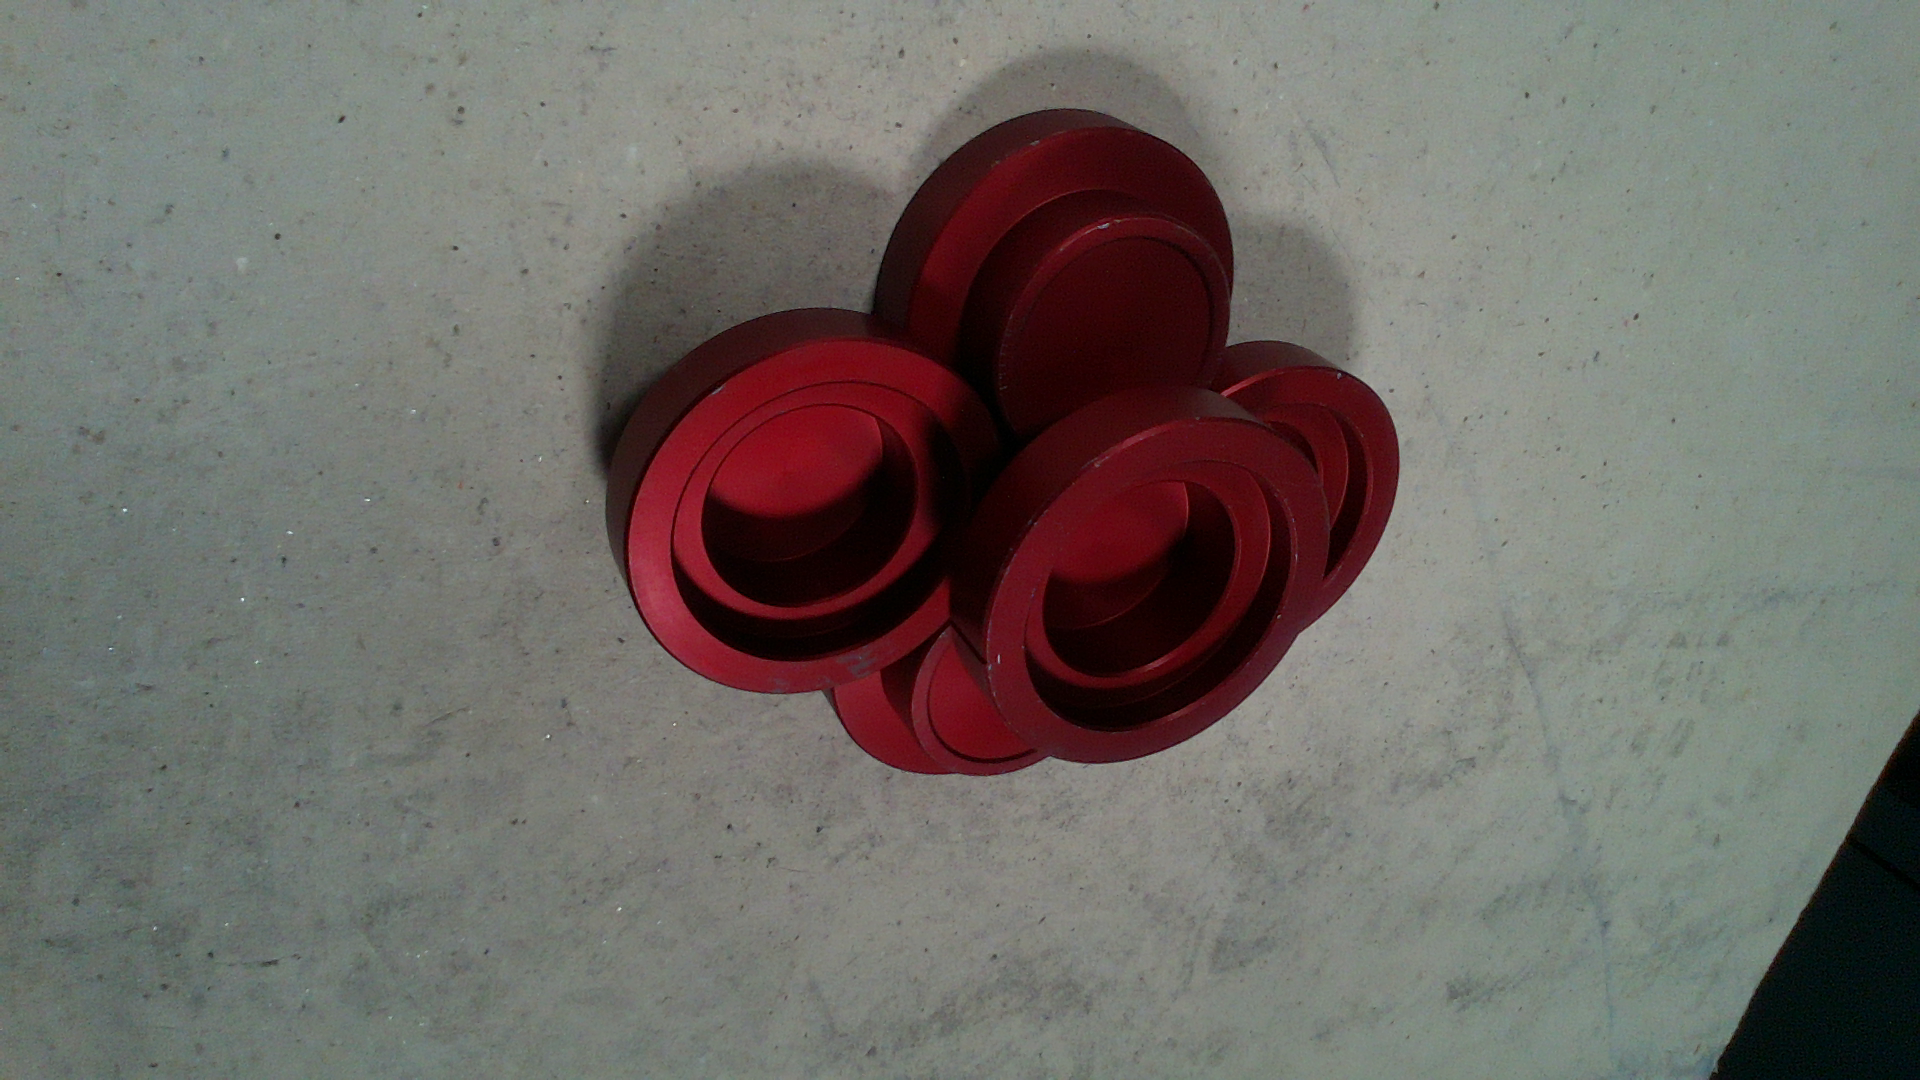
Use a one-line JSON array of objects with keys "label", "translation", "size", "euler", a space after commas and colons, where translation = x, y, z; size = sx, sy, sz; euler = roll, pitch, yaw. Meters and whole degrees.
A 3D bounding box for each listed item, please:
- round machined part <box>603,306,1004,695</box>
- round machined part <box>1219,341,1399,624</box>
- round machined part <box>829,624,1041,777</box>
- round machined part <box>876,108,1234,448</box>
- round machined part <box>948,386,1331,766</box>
[{"label": "round machined part", "translation": [-0.041, -0.013, 0.348], "size": [0.098, 0.042, 0.098], "euler": [-14, 124, -21]}, {"label": "round machined part", "translation": [0.079, -0.014, 0.412], "size": [0.098, 0.042, 0.098], "euler": [-14, 124, -21]}, {"label": "round machined part", "translation": [0.008, 0.029, 0.401], "size": [0.098, 0.042, 0.098], "euler": [-14, 124, -21]}, {"label": "round machined part", "translation": [0.031, -0.058, 0.359], "size": [0.098, 0.042, 0.098], "euler": [-14, 124, -21]}, {"label": "round machined part", "translation": [0.041, 0.006, 0.350], "size": [0.098, 0.042, 0.098], "euler": [-14, 124, -21]}]
